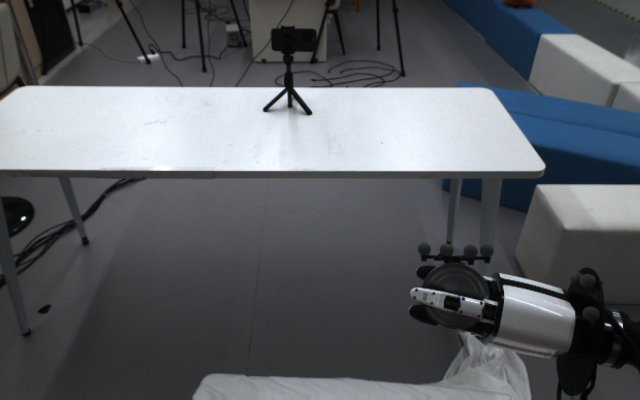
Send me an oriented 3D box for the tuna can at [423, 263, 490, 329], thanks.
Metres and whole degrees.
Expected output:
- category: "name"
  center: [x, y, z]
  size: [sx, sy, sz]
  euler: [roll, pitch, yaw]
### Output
- category: "tuna can"
  center: [0.179, 0.122, 0.638]
  size: [0.085, 0.085, 0.034]
  euler: [16, 1, 19]
